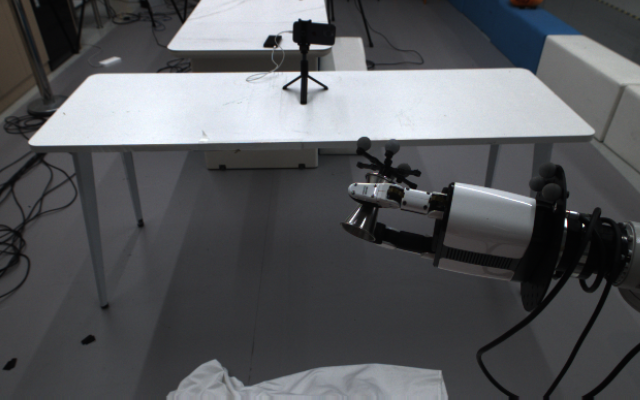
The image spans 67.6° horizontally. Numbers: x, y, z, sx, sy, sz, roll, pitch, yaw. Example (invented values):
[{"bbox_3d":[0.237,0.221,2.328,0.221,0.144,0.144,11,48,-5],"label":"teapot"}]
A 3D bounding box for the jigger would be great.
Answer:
[{"bbox_3d":[0.056,0.005,0.554,0.043,0.043,0.071,20,73,24],"label":"jigger"}]
